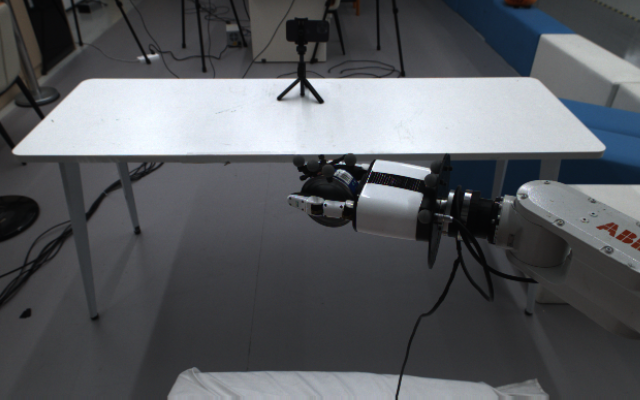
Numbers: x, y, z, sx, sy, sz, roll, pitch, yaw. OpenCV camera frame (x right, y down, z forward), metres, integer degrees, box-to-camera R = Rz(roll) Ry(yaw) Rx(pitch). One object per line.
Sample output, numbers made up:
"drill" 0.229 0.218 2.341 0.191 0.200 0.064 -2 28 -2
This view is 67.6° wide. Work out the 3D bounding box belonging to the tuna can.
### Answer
"tuna can" 0.018 -0.005 0.705 0.085 0.085 0.034 14 34 17
